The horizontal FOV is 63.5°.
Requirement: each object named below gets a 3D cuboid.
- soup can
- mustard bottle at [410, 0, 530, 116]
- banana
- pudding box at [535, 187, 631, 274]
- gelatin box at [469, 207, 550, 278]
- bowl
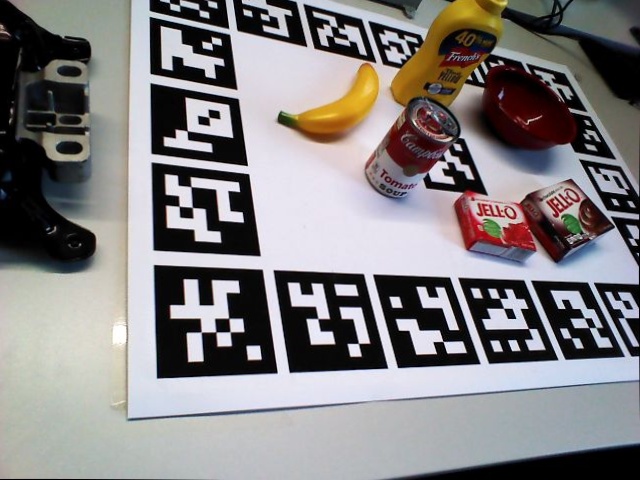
[{"bbox_3d":[0.116,-0.098,0.585,0.068,0.103,0.067,15,51,-19],"label":"soup can"},{"bbox_3d":[0.204,-0.245,0.668,0.096,0.193,0.058,4,54,-24],"label":"mustard bottle"},{"bbox_3d":[0.044,-0.174,0.655,0.074,0.039,0.196,32,49,10],"label":"banana"},{"bbox_3d":[0.353,-0.015,0.699,0.113,0.039,0.090,-21,75,-35],"label":"pudding box"},{"bbox_3d":[0.233,0.003,0.633,0.089,0.030,0.073,10,58,-20],"label":"gelatin box"},{"bbox_3d":[0.330,-0.176,0.792,0.161,0.055,0.160,12,53,-17],"label":"bowl"}]
